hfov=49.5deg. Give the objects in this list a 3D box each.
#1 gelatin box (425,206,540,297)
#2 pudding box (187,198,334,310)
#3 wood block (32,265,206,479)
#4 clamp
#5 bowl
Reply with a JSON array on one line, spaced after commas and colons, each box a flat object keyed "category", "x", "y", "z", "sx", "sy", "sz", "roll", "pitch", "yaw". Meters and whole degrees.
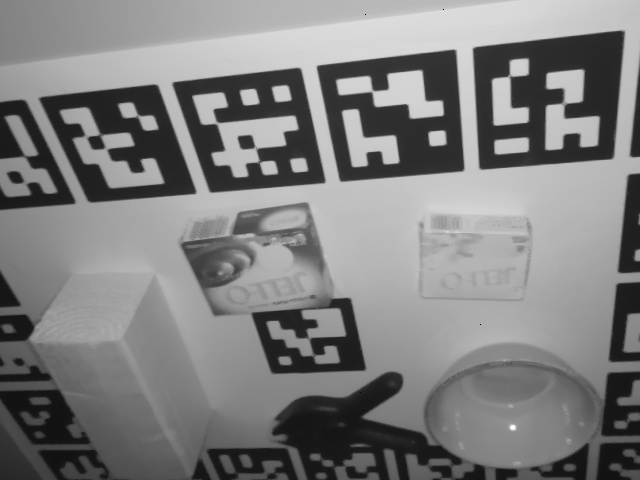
[{"category": "gelatin box", "x": 0.135, "y": 0.010, "z": 0.588, "sx": 0.089, "sy": 0.030, "sz": 0.072, "roll": 3, "pitch": 123, "yaw": 6}, {"category": "pudding box", "x": -0.049, "y": 0.013, "z": 0.612, "sx": 0.113, "sy": 0.039, "sz": 0.089, "roll": -6, "pitch": 119, "yaw": 9}, {"category": "wood block", "x": -0.189, "y": 0.133, "z": 0.681, "sx": 0.089, "sy": 0.092, "sz": 0.205, "roll": -1, "pitch": 124, "yaw": 11}, {"category": "clamp", "x": 0.038, "y": 0.190, "z": 0.732, "sx": 0.163, "sy": 0.037, "sz": 0.121, "roll": -12, "pitch": 122, "yaw": 18}, {"category": "bowl", "x": 0.187, "y": 0.152, "z": 0.672, "sx": 0.161, "sy": 0.056, "sz": 0.160, "roll": 4, "pitch": 122, "yaw": 7}]
